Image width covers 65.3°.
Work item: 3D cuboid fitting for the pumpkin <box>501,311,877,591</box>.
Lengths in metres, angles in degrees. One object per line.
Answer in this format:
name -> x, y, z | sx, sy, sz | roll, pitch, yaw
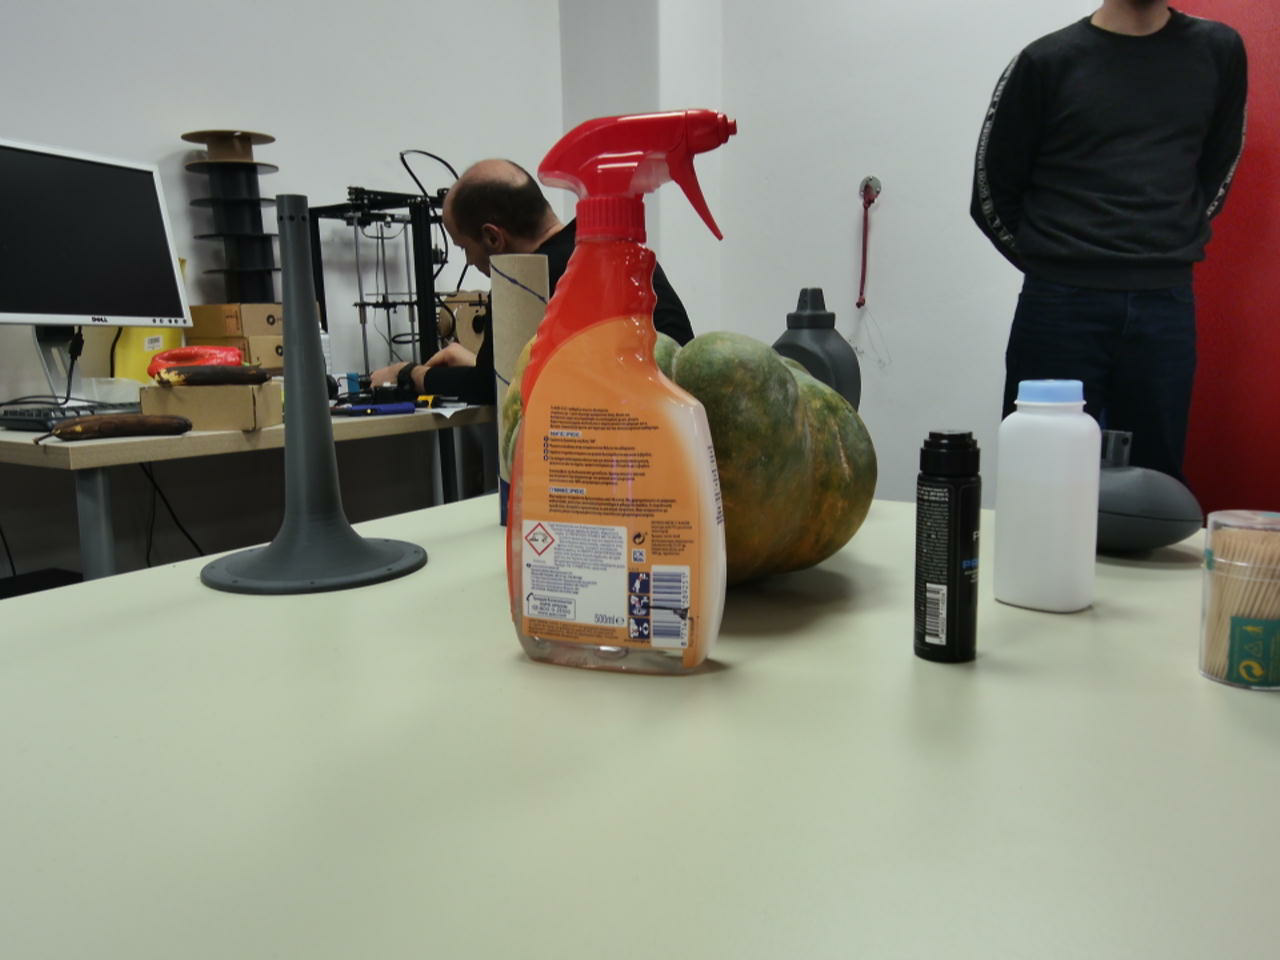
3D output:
pumpkin -> 0.031, -0.022, 0.658 | 0.237, 0.173, 0.270 | -2, 7, -18
